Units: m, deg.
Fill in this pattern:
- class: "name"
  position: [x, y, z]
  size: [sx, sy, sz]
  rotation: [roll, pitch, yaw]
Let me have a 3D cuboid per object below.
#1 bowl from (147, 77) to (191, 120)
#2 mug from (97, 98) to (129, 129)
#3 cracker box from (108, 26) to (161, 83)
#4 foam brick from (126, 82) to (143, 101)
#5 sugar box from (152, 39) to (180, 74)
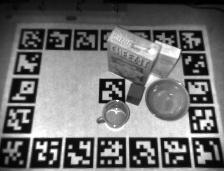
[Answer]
- class: "bowl"
  position: [0.205, 0.048, 0.782]
  size: [0.162, 0.055, 0.161]
  rotation: [0, 71, 0]
- class: "mug"
  position: [0.000, 0.103, 0.753]
  size: [0.117, 0.082, 0.093]
  rotation: [-8, 62, -1]
- class: "cracker box"
  position: [0.068, -0.101, 0.762]
  size: [0.163, 0.214, 0.072]
  rotation: [28, 71, 9]
- class: "foam brick"
  position: [0.083, 0.019, 0.795]
  size: [0.052, 0.078, 0.051]
  rotation: [15, 70, 7]
- class: "sugar box"
  position: [0.179, -0.106, 0.784]
  size: [0.092, 0.177, 0.045]
  rotation: [20, 71, 8]
